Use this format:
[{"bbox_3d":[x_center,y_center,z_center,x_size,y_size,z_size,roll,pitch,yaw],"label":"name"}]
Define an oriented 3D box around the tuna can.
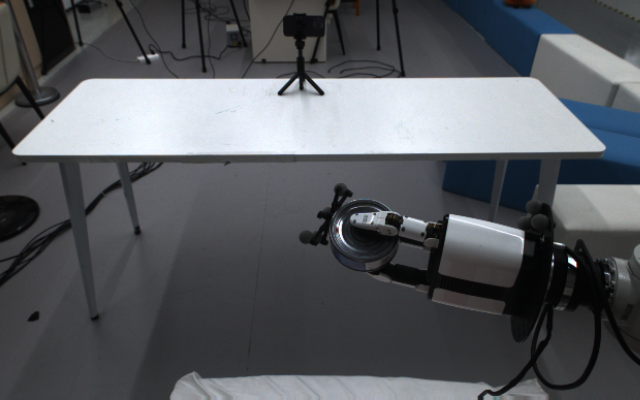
[{"bbox_3d":[0.055,0.038,0.590,0.085,0.034,0.085,-1,60,2],"label":"tuna can"}]
